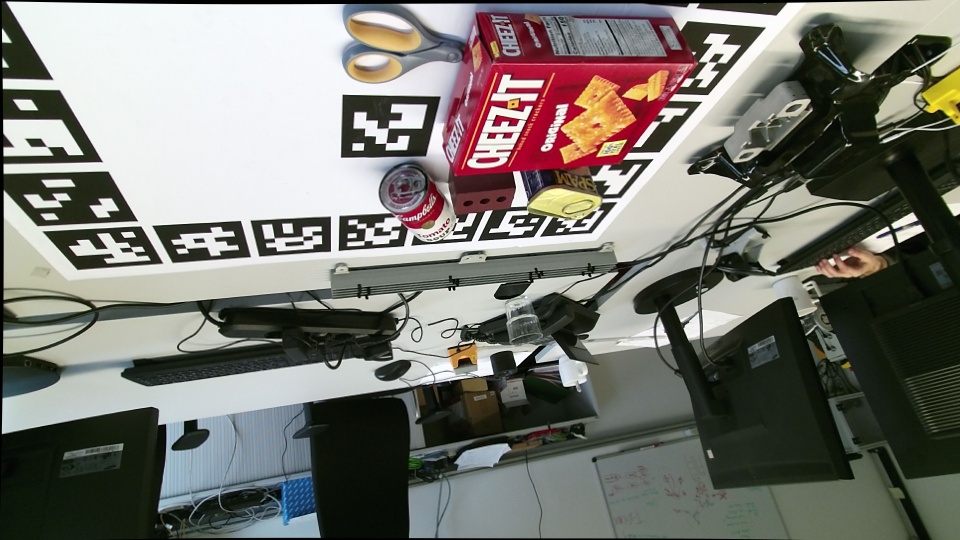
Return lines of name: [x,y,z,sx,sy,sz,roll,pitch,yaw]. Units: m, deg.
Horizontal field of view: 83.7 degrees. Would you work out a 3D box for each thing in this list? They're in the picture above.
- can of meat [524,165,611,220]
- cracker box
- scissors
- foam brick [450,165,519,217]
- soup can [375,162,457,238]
can of meat: [0.107,-0.117,0.690,0.102,0.083,0.058,2,149,-30]
cracker box: [0.091,-0.175,0.553,0.214,0.071,0.164,-11,155,-15]
scissors: [-0.018,-0.208,0.501,0.203,0.016,0.088,-8,153,-14]
foam brick: [0.004,-0.109,0.696,0.078,0.051,0.053,-10,153,-9]
soup can: [-0.080,-0.087,0.693,0.068,0.067,0.102,-23,158,15]
